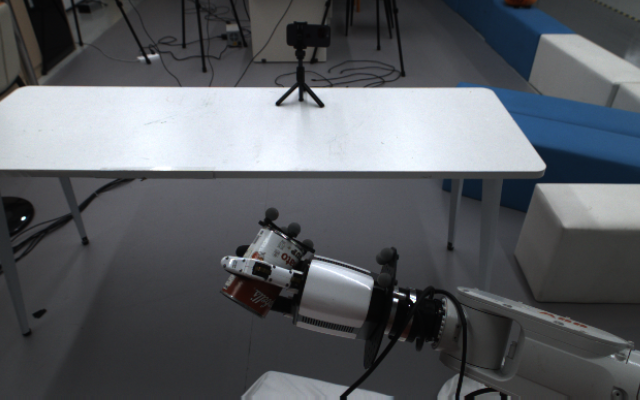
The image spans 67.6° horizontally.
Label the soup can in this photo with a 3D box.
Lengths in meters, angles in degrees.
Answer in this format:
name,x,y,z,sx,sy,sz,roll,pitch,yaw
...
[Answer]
name,x,y,z,sx,sy,sz,roll,pitch,yaw
soup can,-0.075,0.093,0.628,0.067,0.067,0.101,25,72,29
